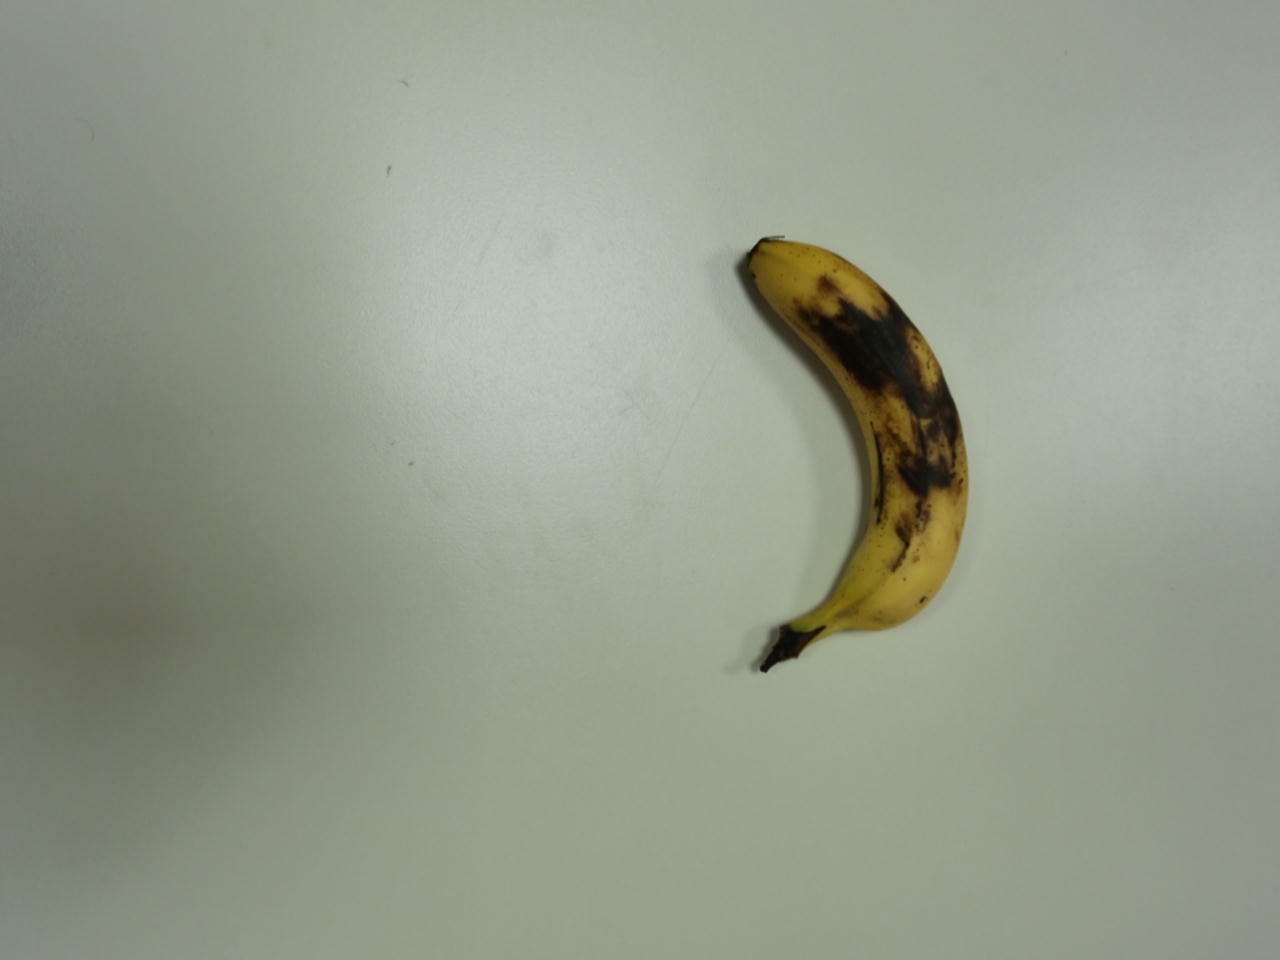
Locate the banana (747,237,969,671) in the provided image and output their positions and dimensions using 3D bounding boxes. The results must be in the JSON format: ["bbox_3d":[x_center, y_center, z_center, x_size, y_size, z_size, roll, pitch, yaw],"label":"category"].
[{"bbox_3d":[0.096,-0.014,0.437,0.094,0.039,0.187,-2,90,-11],"label":"banana"}]
